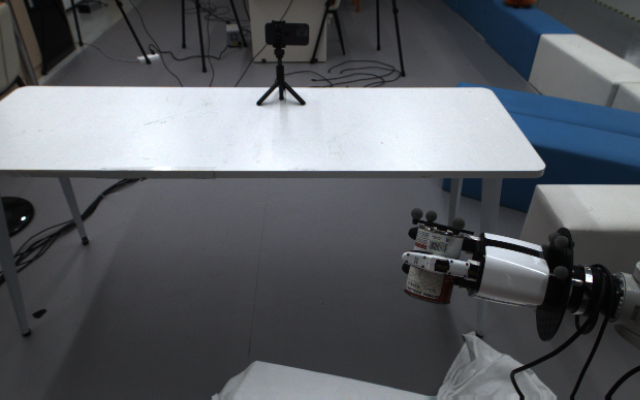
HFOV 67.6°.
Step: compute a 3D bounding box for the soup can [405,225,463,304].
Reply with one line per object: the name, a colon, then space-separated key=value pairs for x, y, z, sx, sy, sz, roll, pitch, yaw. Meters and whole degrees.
soup can: x=0.168 y=0.092 z=0.706 sx=0.067 sy=0.101 sz=0.067 roll=12 pitch=2 yaw=0
